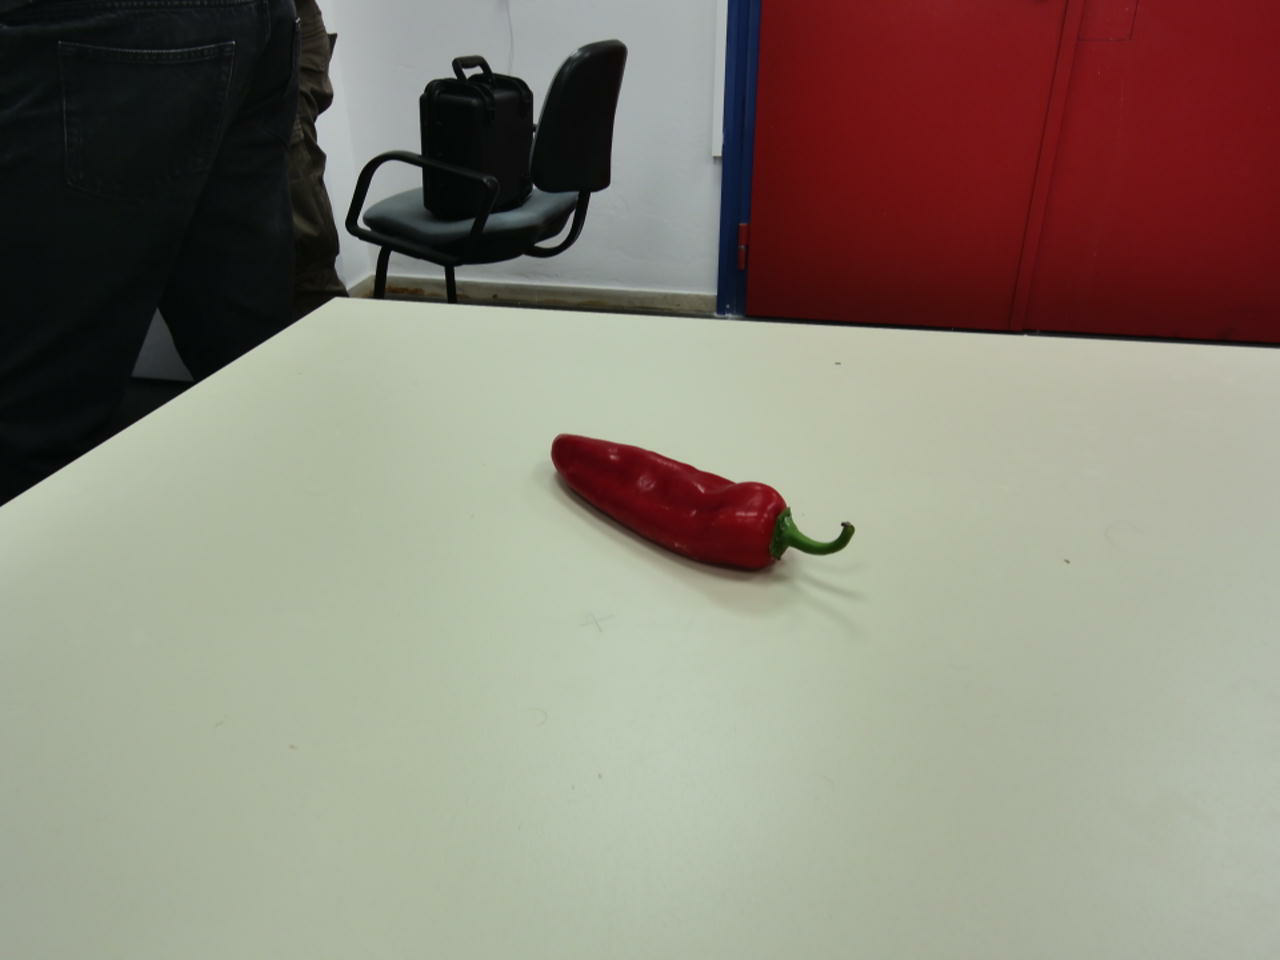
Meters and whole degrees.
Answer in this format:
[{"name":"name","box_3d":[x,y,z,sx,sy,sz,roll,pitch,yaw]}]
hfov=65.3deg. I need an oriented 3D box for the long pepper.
[{"name":"long pepper","box_3d":[0.018,0.009,0.538,0.211,0.043,0.050,23,34,39]}]
